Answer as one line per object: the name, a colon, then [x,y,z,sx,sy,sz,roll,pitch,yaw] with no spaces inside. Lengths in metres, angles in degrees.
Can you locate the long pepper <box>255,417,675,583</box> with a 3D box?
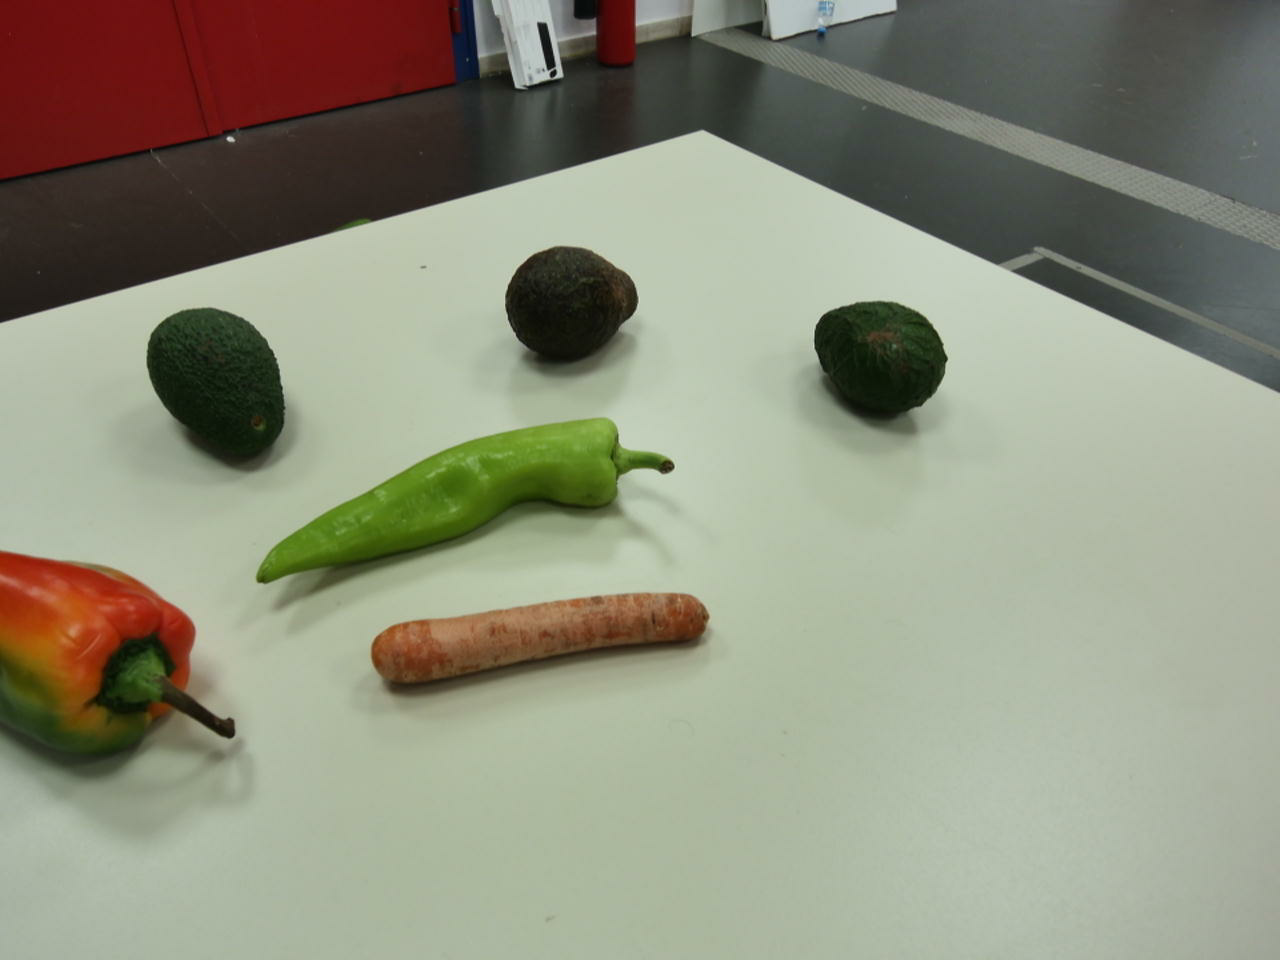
long pepper: [-0.088,0.006,0.501,0.204,0.045,0.065,-13,40,-17]
